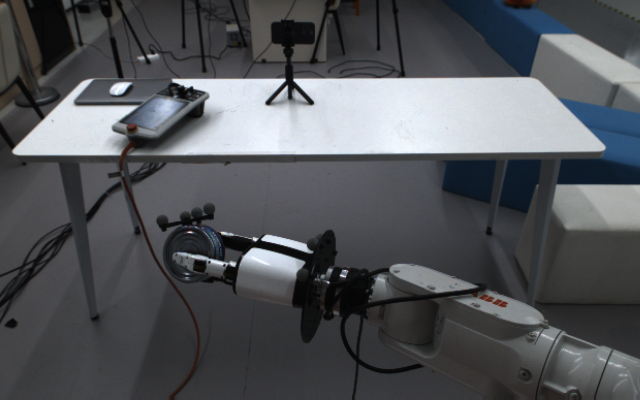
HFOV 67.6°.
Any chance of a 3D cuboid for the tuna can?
[{"bbox_3d":[-0.185,0.079,0.711,0.085,0.085,0.034,12,3,14],"label":"tuna can"}]
